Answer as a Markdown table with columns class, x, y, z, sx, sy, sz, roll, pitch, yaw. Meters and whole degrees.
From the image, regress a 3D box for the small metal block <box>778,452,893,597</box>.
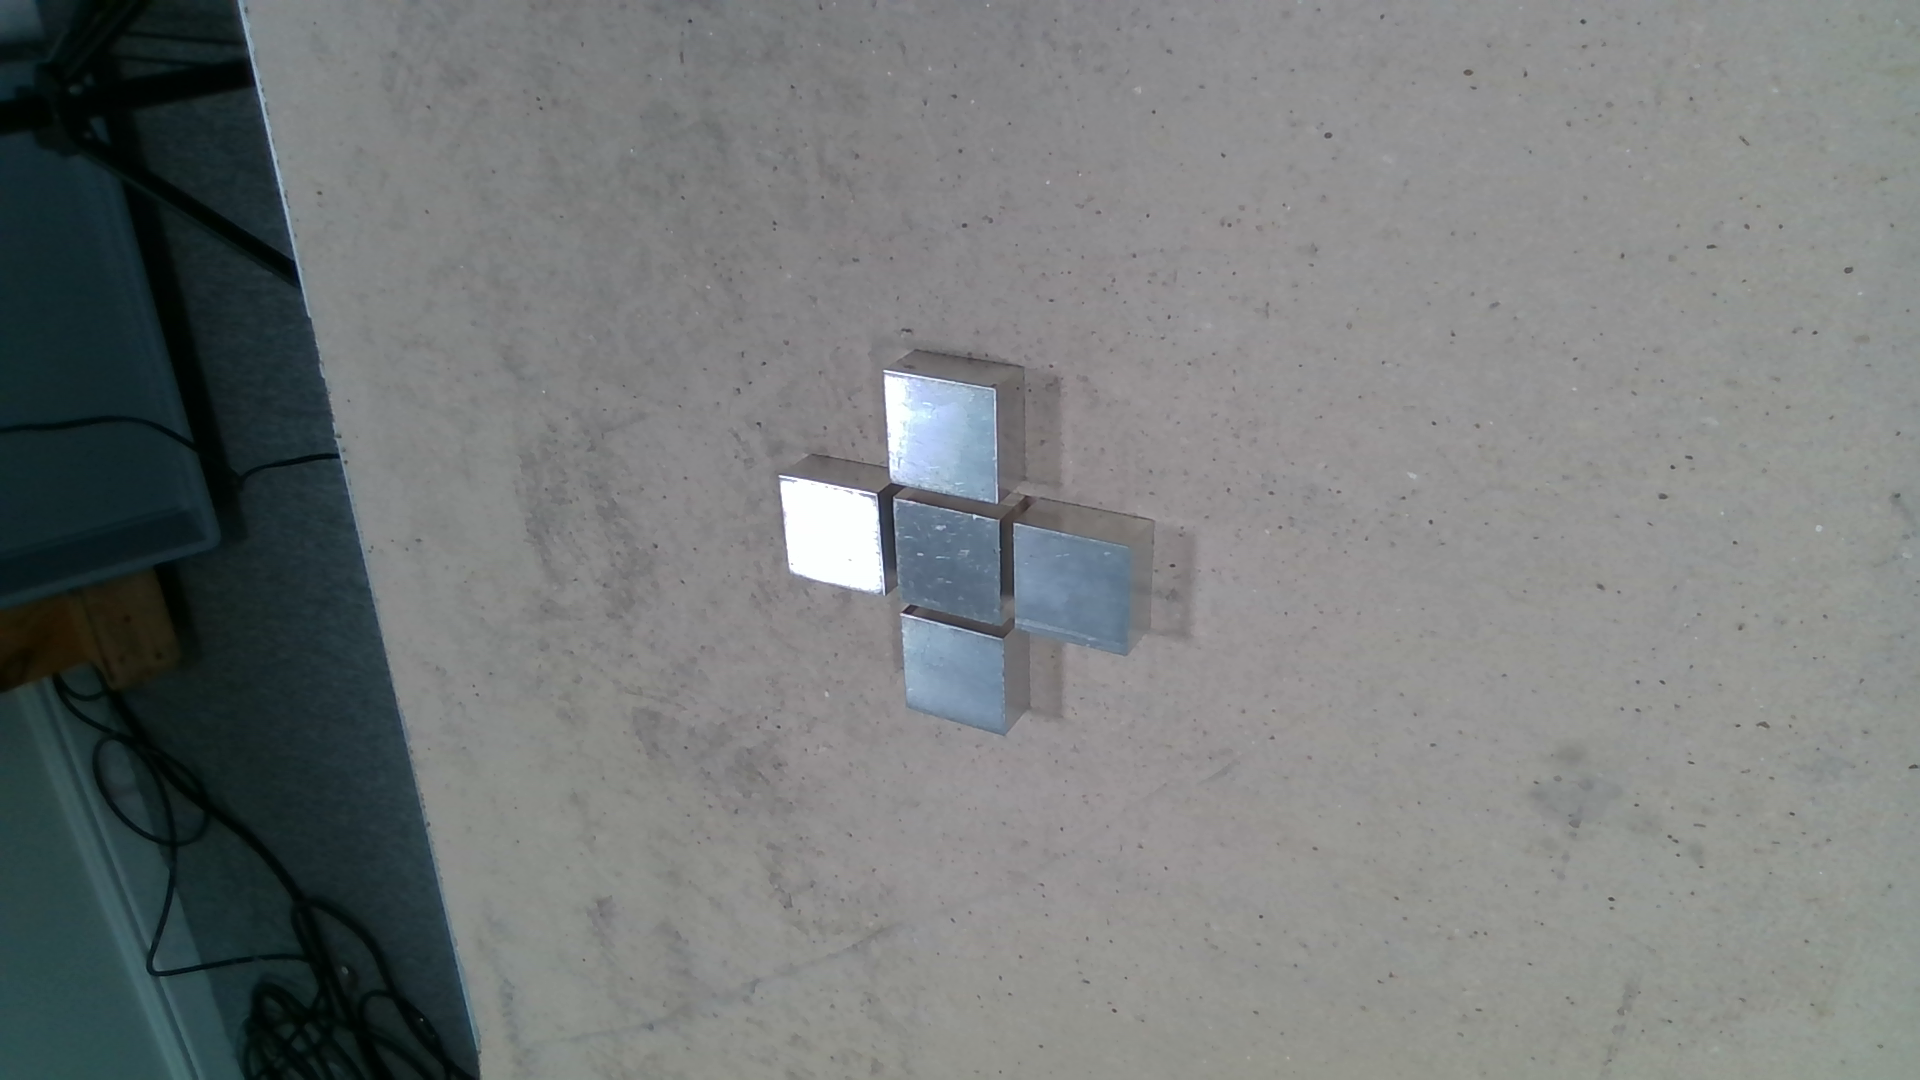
| class | x | y | z | sx | sy | sz | roll | pitch | yaw |
| --- | --- | --- | --- | --- | --- | --- | --- | --- | --- |
| small metal block | -0.050 | -0.007 | 0.607 | 0.050 | 0.025 | 0.050 | 12 | 121 | 26 |

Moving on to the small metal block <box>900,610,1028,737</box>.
| class | x | y | z | sx | sy | sz | roll | pitch | yaw |
| --- | --- | --- | --- | --- | --- | --- | --- | --- | --- |
| small metal block | 0.003 | 0.053 | 0.608 | 0.050 | 0.025 | 0.050 | 12 | 121 | 26 |

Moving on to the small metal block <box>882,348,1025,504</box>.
| class | x | y | z | sx | sy | sz | roll | pitch | yaw |
| --- | --- | --- | --- | --- | --- | --- | --- | --- | --- |
| small metal block | -0.002 | -0.046 | 0.556 | 0.050 | 0.025 | 0.050 | 12 | 121 | 26 |

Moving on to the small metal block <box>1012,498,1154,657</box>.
| class | x | y | z | sx | sy | sz | roll | pitch | yaw |
| --- | --- | --- | --- | --- | --- | --- | --- | --- | --- |
| small metal block | 0.050 | 0.015 | 0.558 | 0.050 | 0.025 | 0.050 | 12 | 121 | 26 |

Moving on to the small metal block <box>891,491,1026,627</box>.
| class | x | y | z | sx | sy | sz | roll | pitch | yaw |
| --- | --- | --- | --- | --- | --- | --- | --- | --- | --- |
| small metal block | 0.000 | 0.004 | 0.582 | 0.050 | 0.025 | 0.050 | 12 | 121 | 26 |
